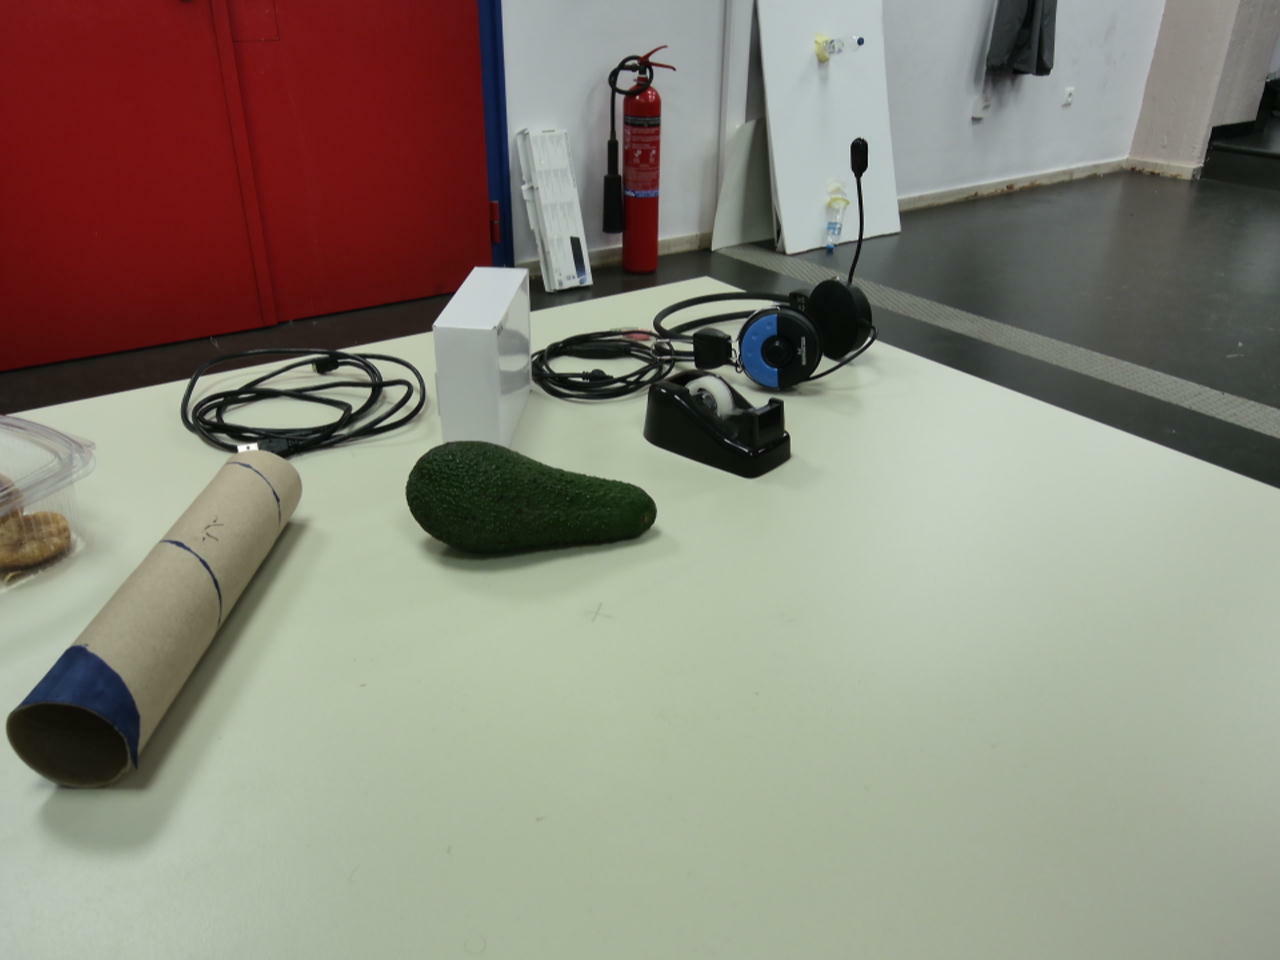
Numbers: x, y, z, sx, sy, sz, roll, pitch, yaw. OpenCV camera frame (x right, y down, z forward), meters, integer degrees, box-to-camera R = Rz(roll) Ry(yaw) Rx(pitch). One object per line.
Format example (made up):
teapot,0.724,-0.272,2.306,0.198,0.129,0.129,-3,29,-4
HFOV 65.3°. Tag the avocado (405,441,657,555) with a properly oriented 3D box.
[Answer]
avocado,-0.061,0.005,0.568,0.141,0.067,0.063,-9,28,-20
